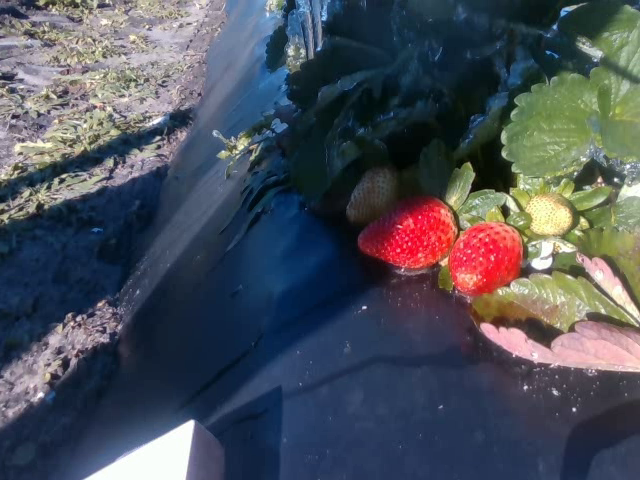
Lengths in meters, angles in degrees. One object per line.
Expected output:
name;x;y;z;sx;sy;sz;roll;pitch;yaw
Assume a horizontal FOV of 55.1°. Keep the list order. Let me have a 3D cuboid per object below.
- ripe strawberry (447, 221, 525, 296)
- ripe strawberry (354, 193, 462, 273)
ripe strawberry;0.070;0.009;0.261;0.036;0.030;0.041;-16;30;37
ripe strawberry;0.036;-0.001;0.279;0.051;0.040;0.036;-10;11;-34
